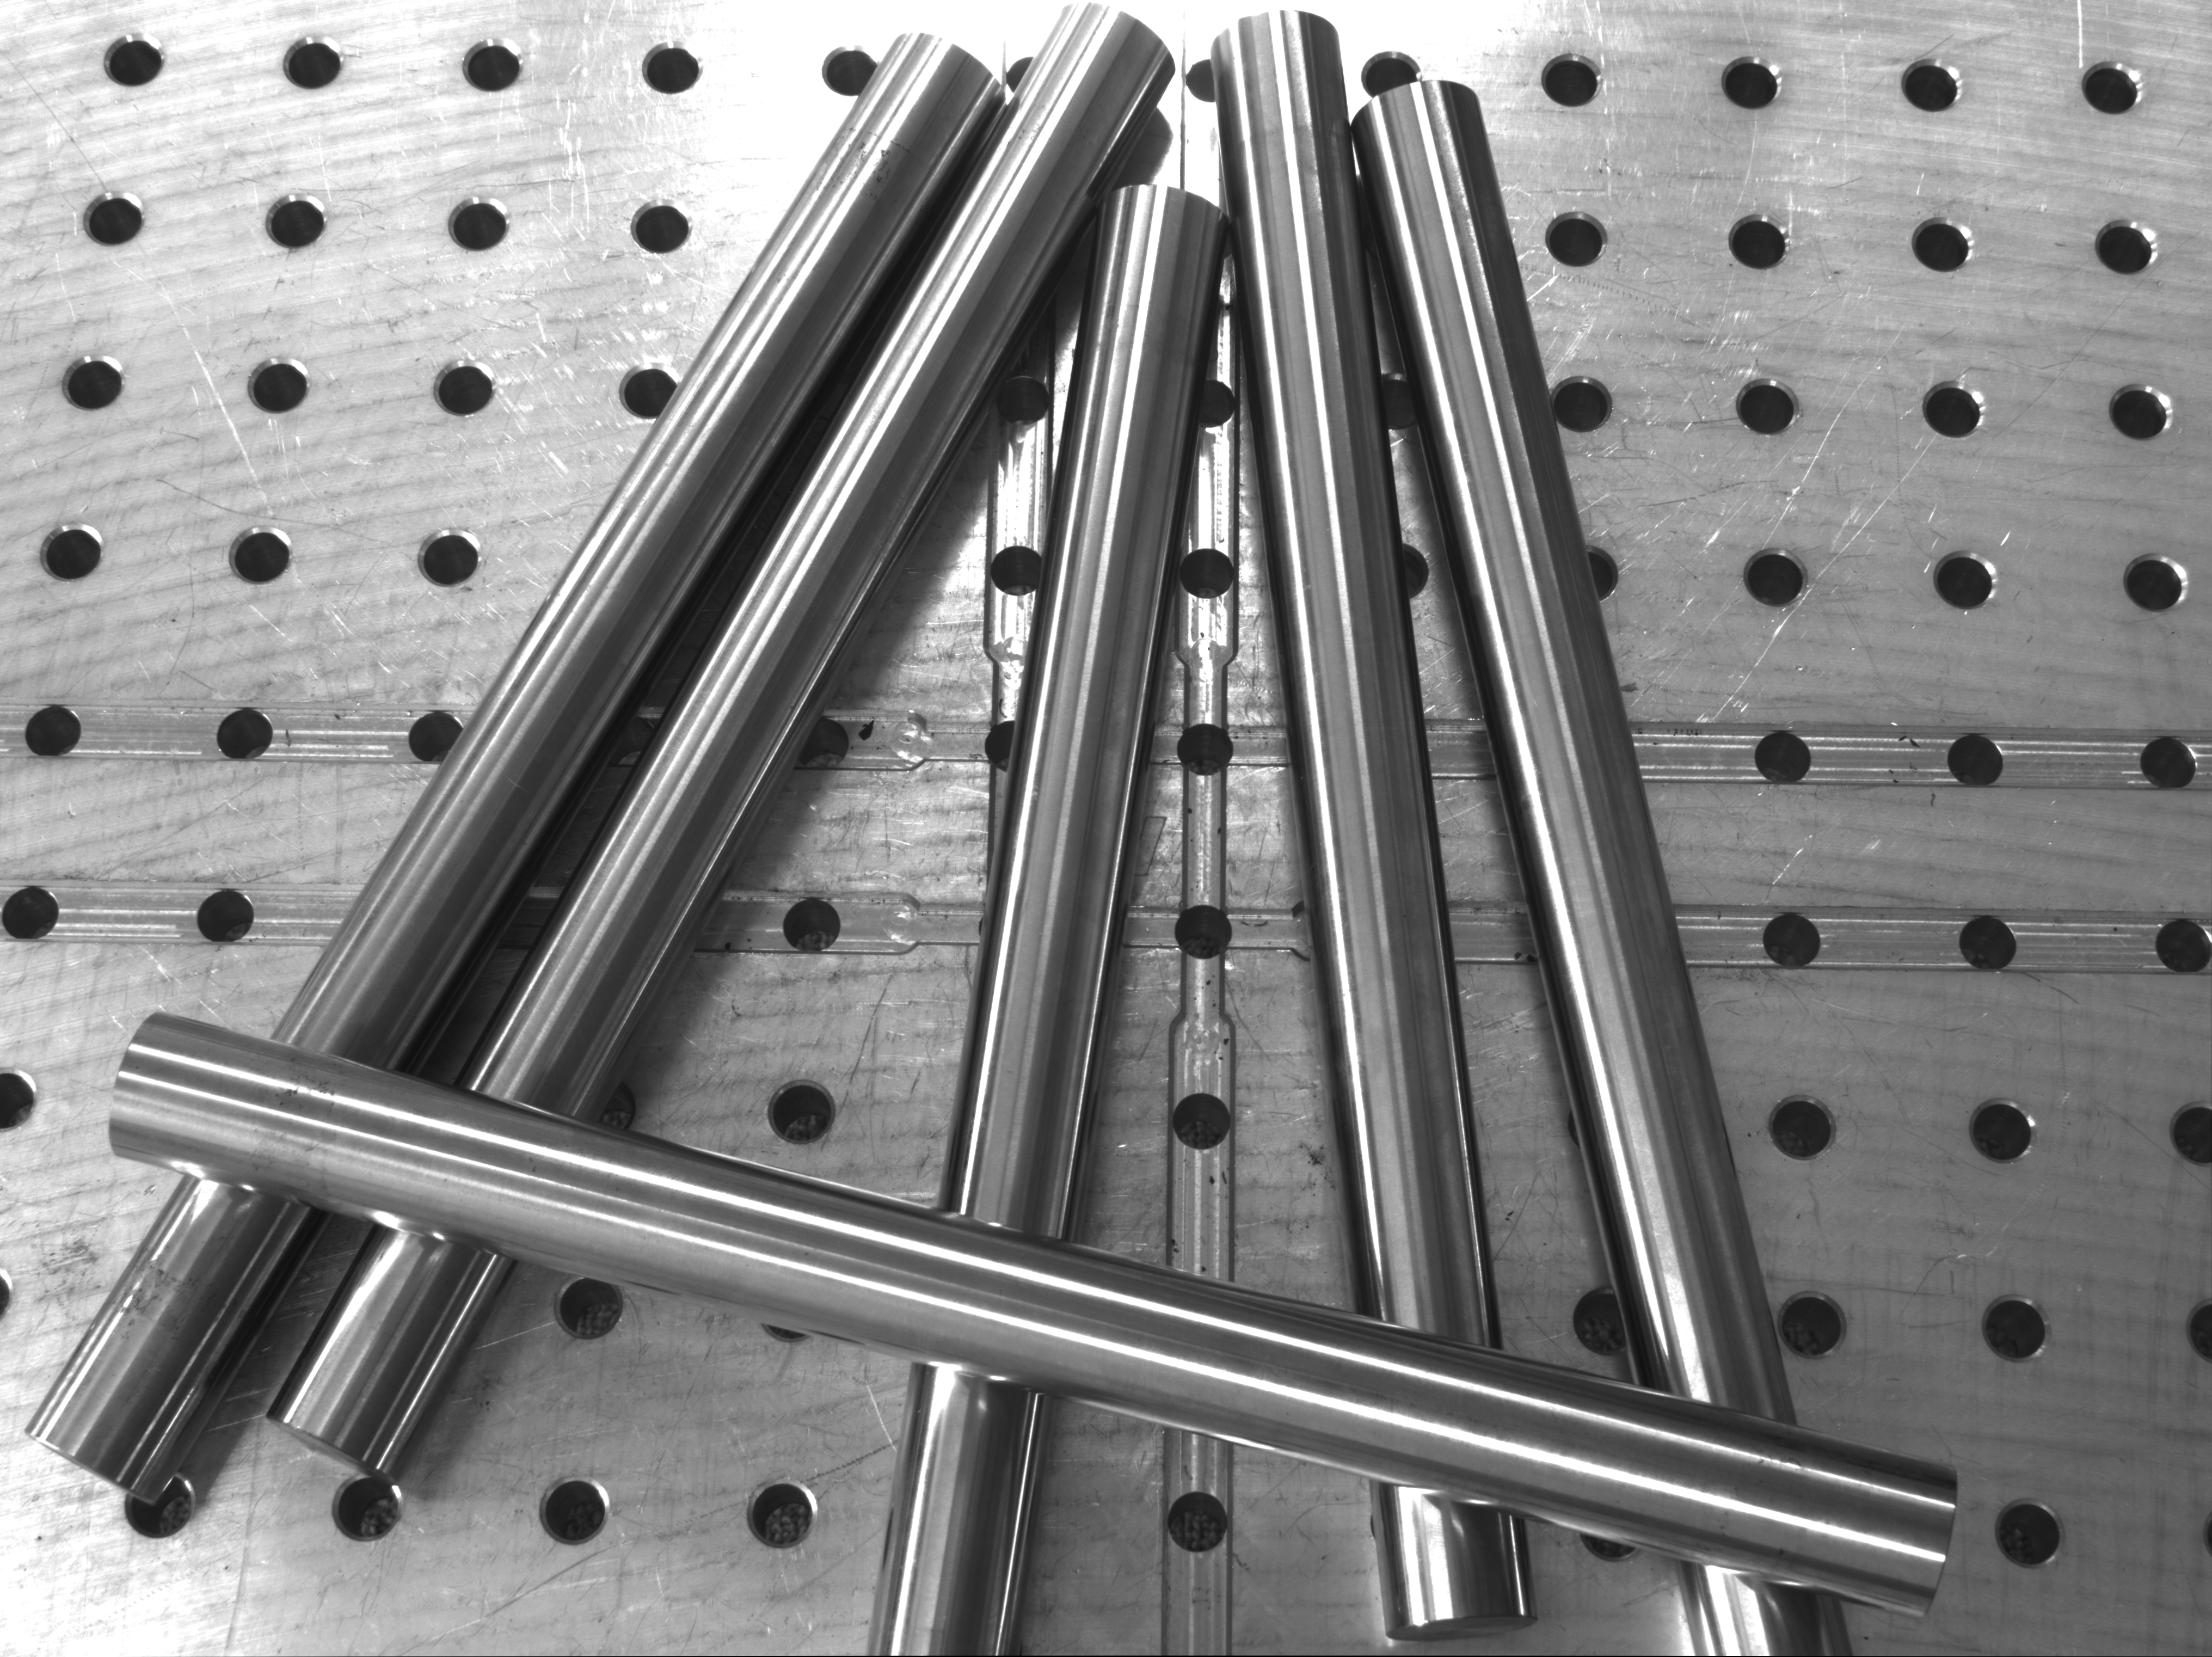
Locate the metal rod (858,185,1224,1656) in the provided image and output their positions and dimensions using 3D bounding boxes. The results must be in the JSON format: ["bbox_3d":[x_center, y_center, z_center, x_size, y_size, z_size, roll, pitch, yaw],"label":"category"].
[{"bbox_3d":[-0.011,0.025,0.639,0.025,0.025,0.300,8,70,3],"label":"metal rod"}]

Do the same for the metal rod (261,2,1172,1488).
[{"bbox_3d":[-0.064,-0.023,0.657,0.025,0.025,0.300,24,72,9],"label":"metal rod"}]

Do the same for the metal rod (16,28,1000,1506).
[{"bbox_3d":[-0.100,-0.019,0.654,0.025,0.025,0.300,26,72,9],"label":"metal rod"}]

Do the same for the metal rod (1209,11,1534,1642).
[{"bbox_3d":[0.045,-0.009,0.651,0.025,0.025,0.300,-5,70,-1],"label":"metal rod"}]

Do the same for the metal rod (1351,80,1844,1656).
[{"bbox_3d":[0.084,0.003,0.646,0.025,0.025,0.300,-9,70,-3],"label":"metal rod"}]
